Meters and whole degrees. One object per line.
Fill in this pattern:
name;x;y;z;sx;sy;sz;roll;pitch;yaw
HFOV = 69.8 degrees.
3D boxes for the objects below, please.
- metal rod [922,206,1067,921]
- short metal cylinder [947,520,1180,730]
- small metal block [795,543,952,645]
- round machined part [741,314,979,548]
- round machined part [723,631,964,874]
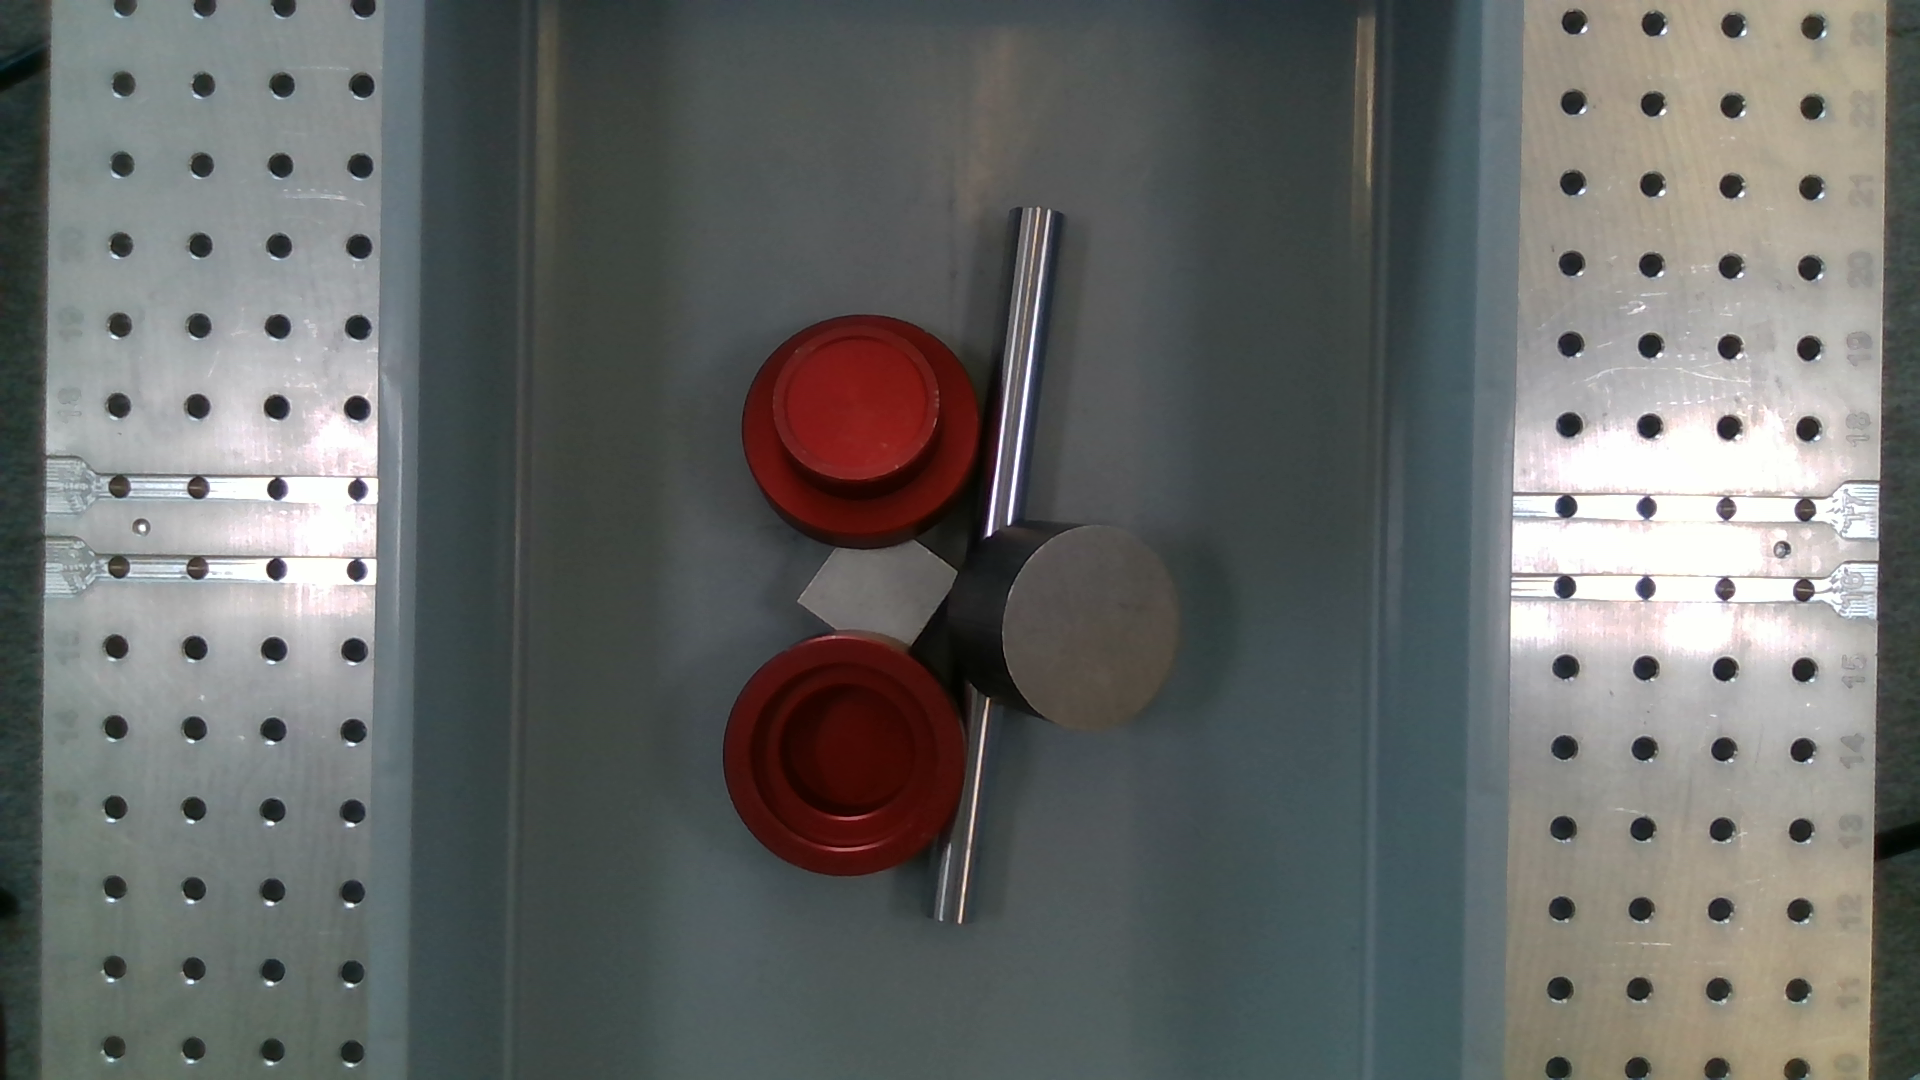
metal rod;0.014;0.010;0.586;0.025;0.025;0.300;7;91;0
short metal cylinder;0.042;0.033;0.559;0.080;0.050;0.080;-2;94;-25
small metal block;-0.034;0.020;0.586;0.050;0.025;0.050;36;90;0
round machined part;-0.041;-0.049;0.564;0.098;0.042;0.098;0;72;1
round machined part;-0.046;0.086;0.576;0.098;0.042;0.098;0;93;2
